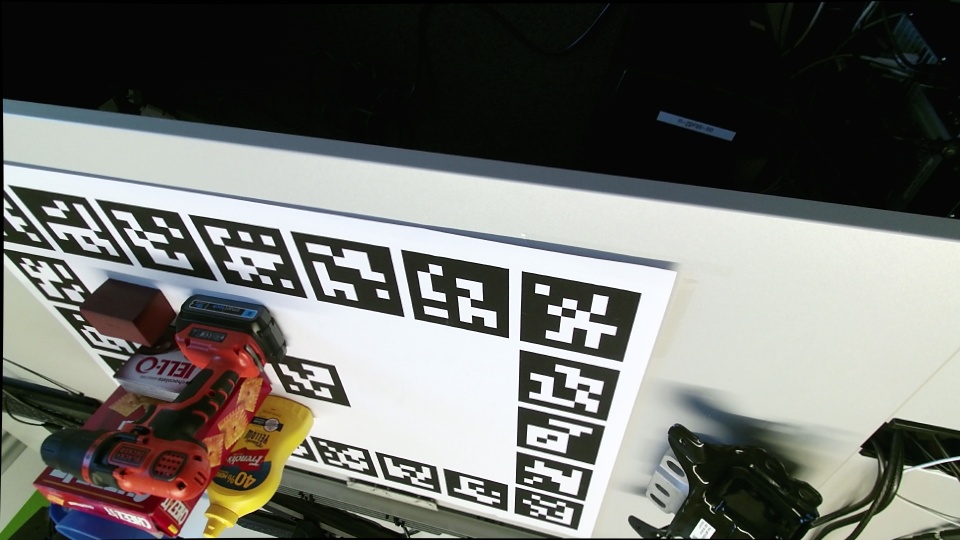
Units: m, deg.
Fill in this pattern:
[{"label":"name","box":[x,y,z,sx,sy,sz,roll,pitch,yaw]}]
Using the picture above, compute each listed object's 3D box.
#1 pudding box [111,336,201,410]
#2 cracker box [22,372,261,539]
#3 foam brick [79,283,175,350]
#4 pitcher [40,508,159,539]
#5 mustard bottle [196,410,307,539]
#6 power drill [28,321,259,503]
[{"label":"pudding box","box":[-0.387,0.134,0.674,0.114,0.089,0.039,8,135,8]},{"label":"cracker box","box":[-0.407,0.204,0.671,0.165,0.213,0.072,6,135,10]},{"label":"foam brick","box":[-0.435,0.056,0.665,0.078,0.051,0.053,11,132,9]},{"label":"pitcher","box":[-0.454,0.275,0.745,0.189,0.241,0.133,13,134,5]},{"label":"mustard bottle","box":[-0.321,0.289,0.728,0.096,0.191,0.058,19,133,1]},{"label":"power drill","box":[-0.344,0.144,0.572,0.185,0.186,0.057,9,137,12]}]
